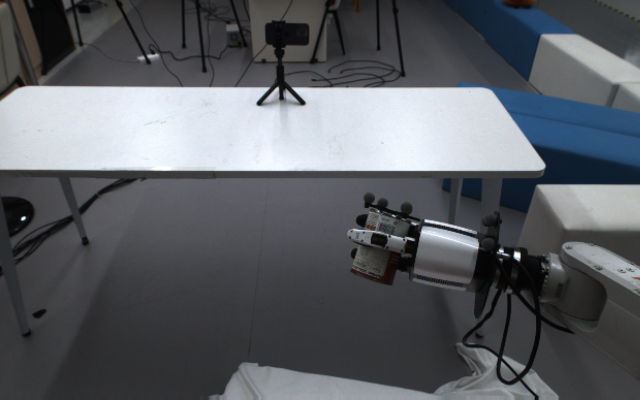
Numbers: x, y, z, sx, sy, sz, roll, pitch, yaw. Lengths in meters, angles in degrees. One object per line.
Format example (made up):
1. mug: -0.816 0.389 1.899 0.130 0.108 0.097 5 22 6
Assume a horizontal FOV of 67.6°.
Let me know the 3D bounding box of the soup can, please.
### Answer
1. soup can: 0.094 0.071 0.739 0.067 0.101 0.067 17 -1 0
